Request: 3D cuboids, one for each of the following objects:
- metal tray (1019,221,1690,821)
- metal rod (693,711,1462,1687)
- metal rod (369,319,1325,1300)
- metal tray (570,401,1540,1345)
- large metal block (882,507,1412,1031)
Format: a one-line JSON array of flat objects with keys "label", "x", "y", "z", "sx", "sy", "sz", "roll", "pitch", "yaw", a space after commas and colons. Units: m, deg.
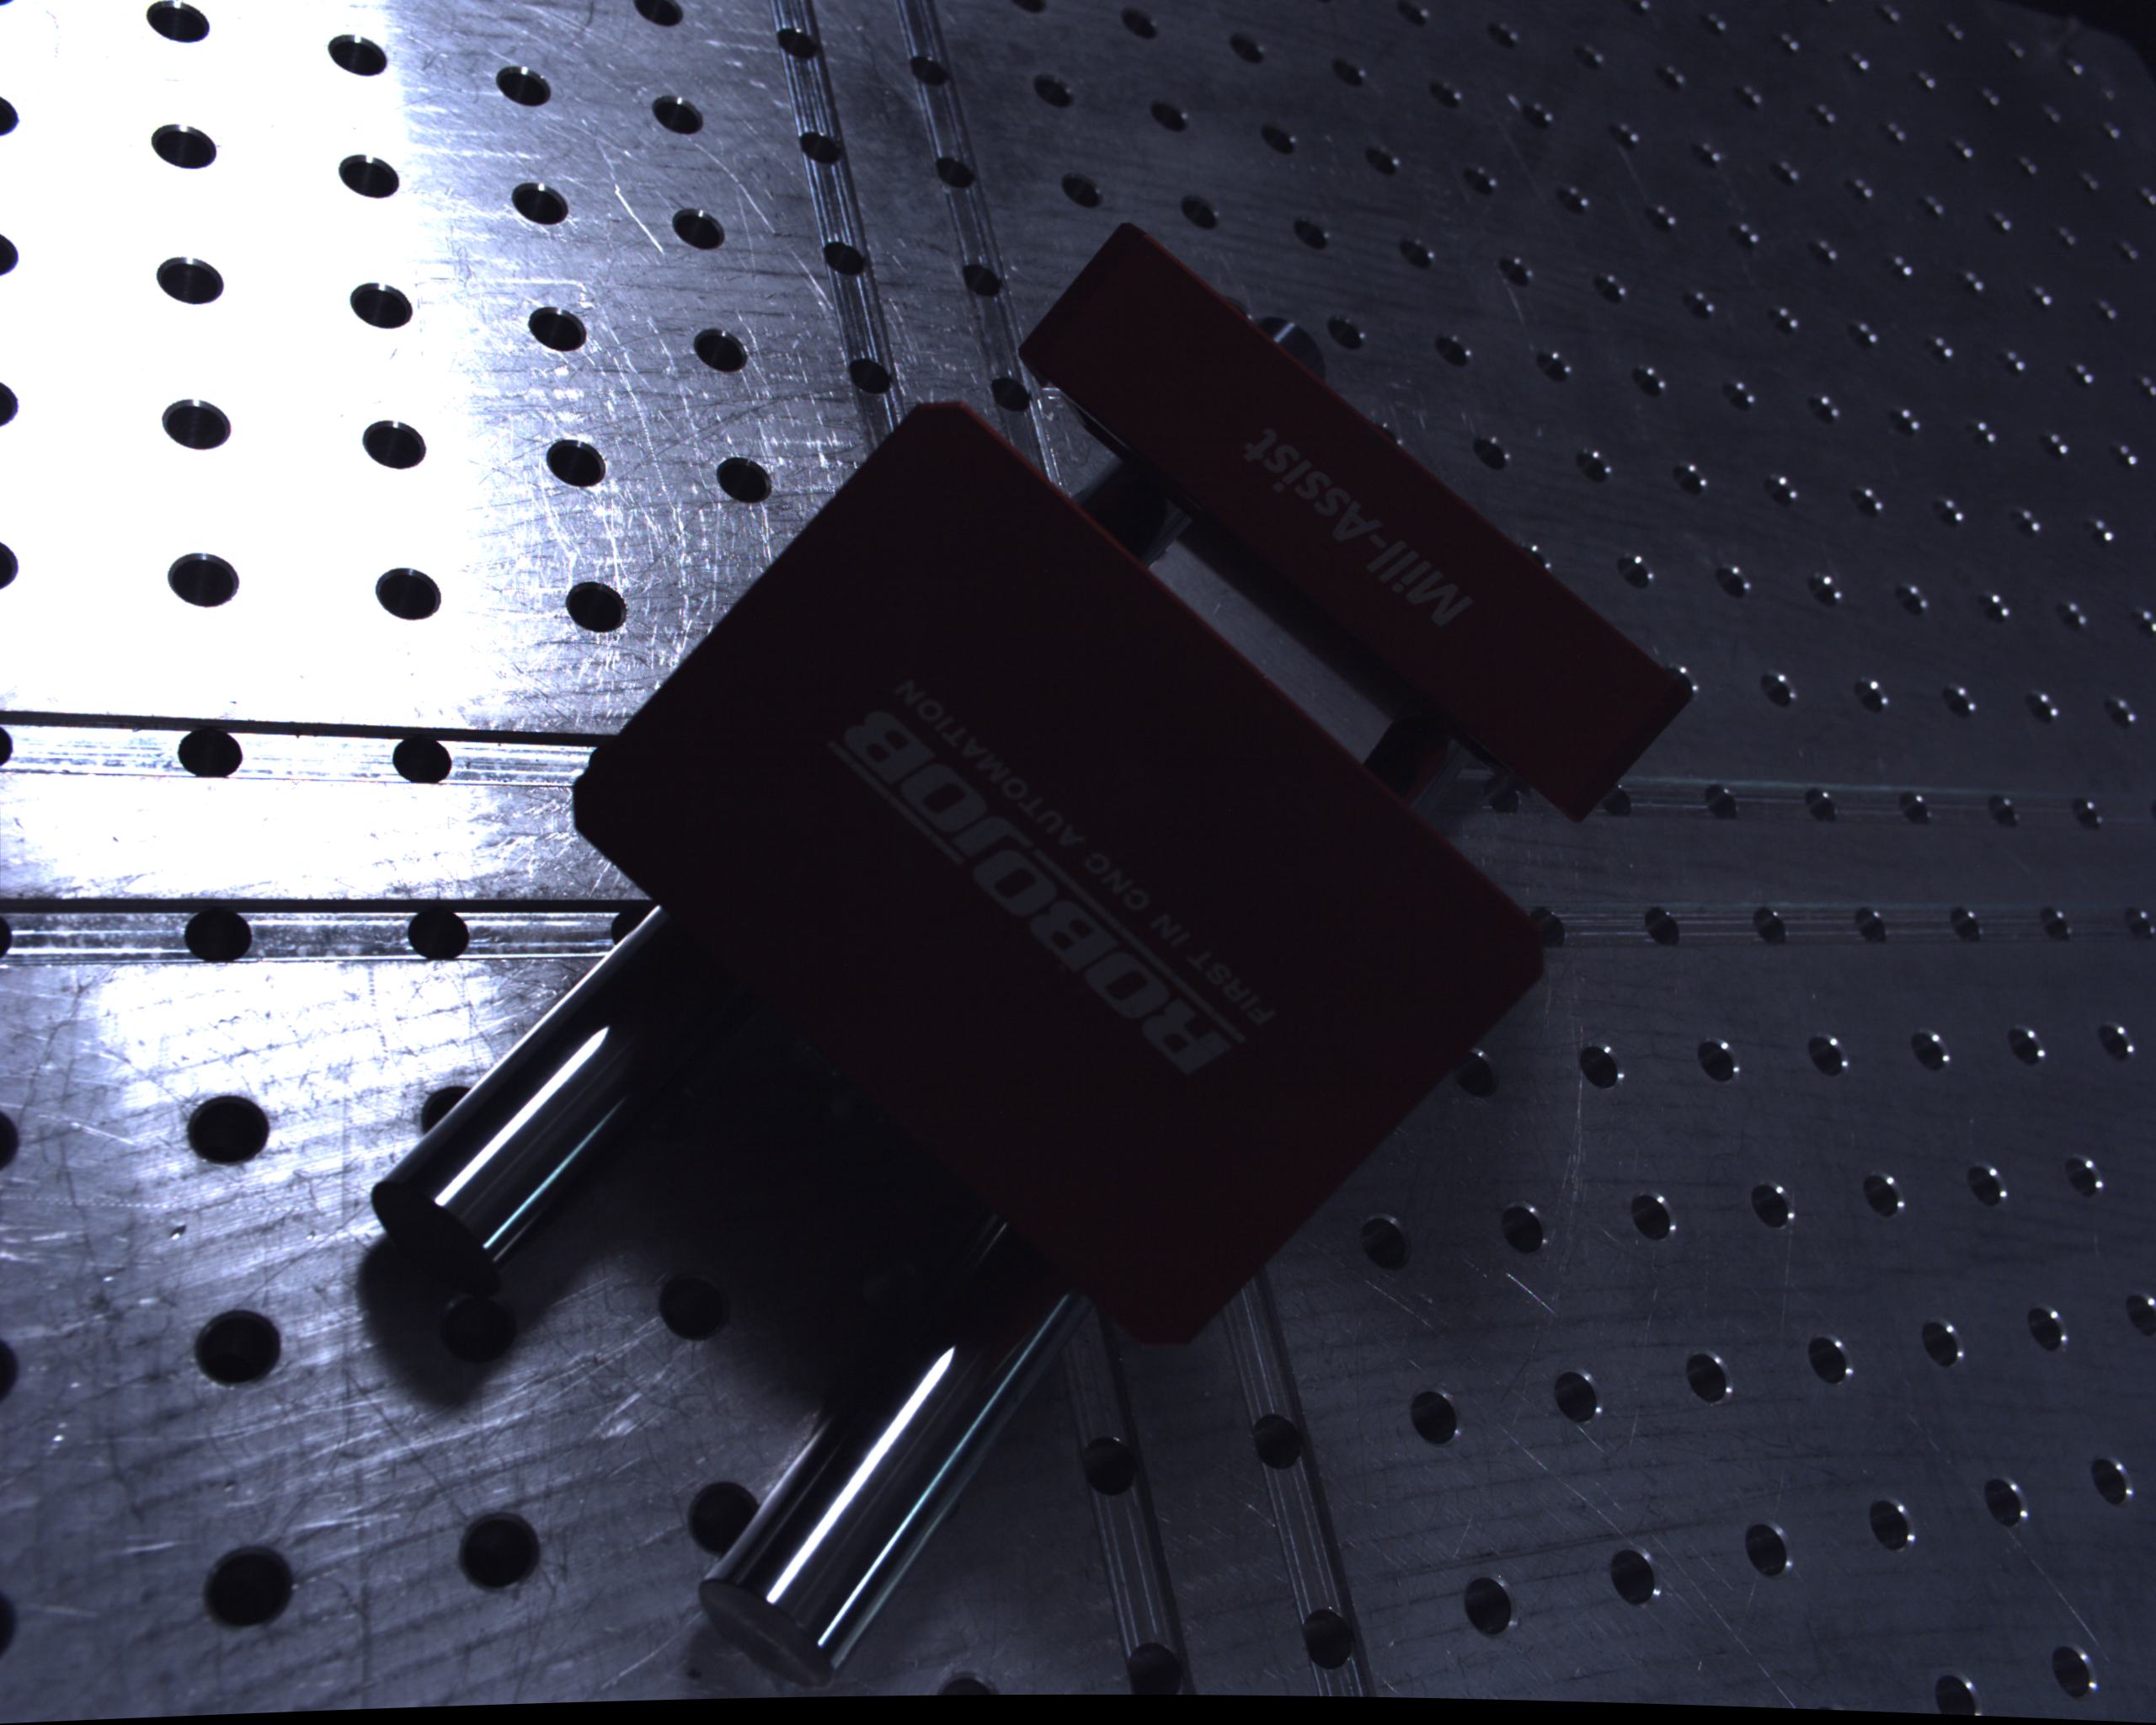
[{"label": "metal tray", "x": 0.051, "y": -0.064, "z": 0.406, "sx": 0.130, "sy": 0.030, "sz": 0.090, "roll": 40, "pitch": 7, "yaw": -2}, {"label": "metal rod", "x": 0.028, "y": 0.027, "z": 0.409, "sx": 0.025, "sy": 0.025, "sz": 0.301, "roll": 41, "pitch": 51, "yaw": -1}, {"label": "metal rod", "x": -0.025, "y": -0.032, "z": 0.416, "sx": 0.025, "sy": 0.025, "sz": 0.301, "roll": 40, "pitch": 51, "yaw": -1}, {"label": "metal tray", "x": -0.004, "y": 0.002, "z": 0.337, "sx": 0.130, "sy": 0.030, "sz": 0.090, "roll": 43, "pitch": 94, "yaw": 0}, {"label": "large metal block", "x": 0.018, "y": -0.021, "z": 0.396, "sx": 0.050, "sy": 0.080, "sz": 0.080, "roll": 41, "pitch": 51, "yaw": -1}]
